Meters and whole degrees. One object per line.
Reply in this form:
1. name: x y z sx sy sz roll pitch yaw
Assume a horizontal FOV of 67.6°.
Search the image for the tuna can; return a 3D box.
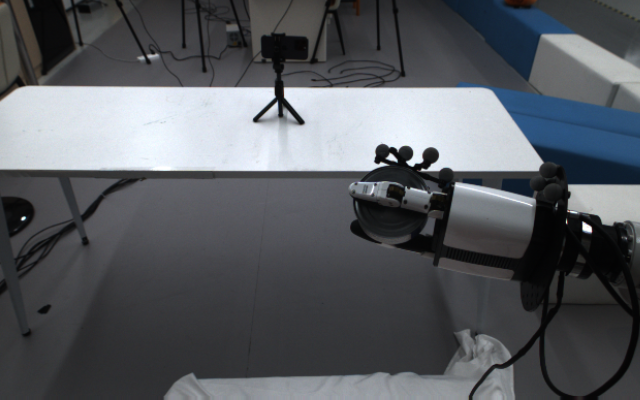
1. tuna can: 0.084 0.003 0.550 0.085 0.034 0.085 -4 66 10
